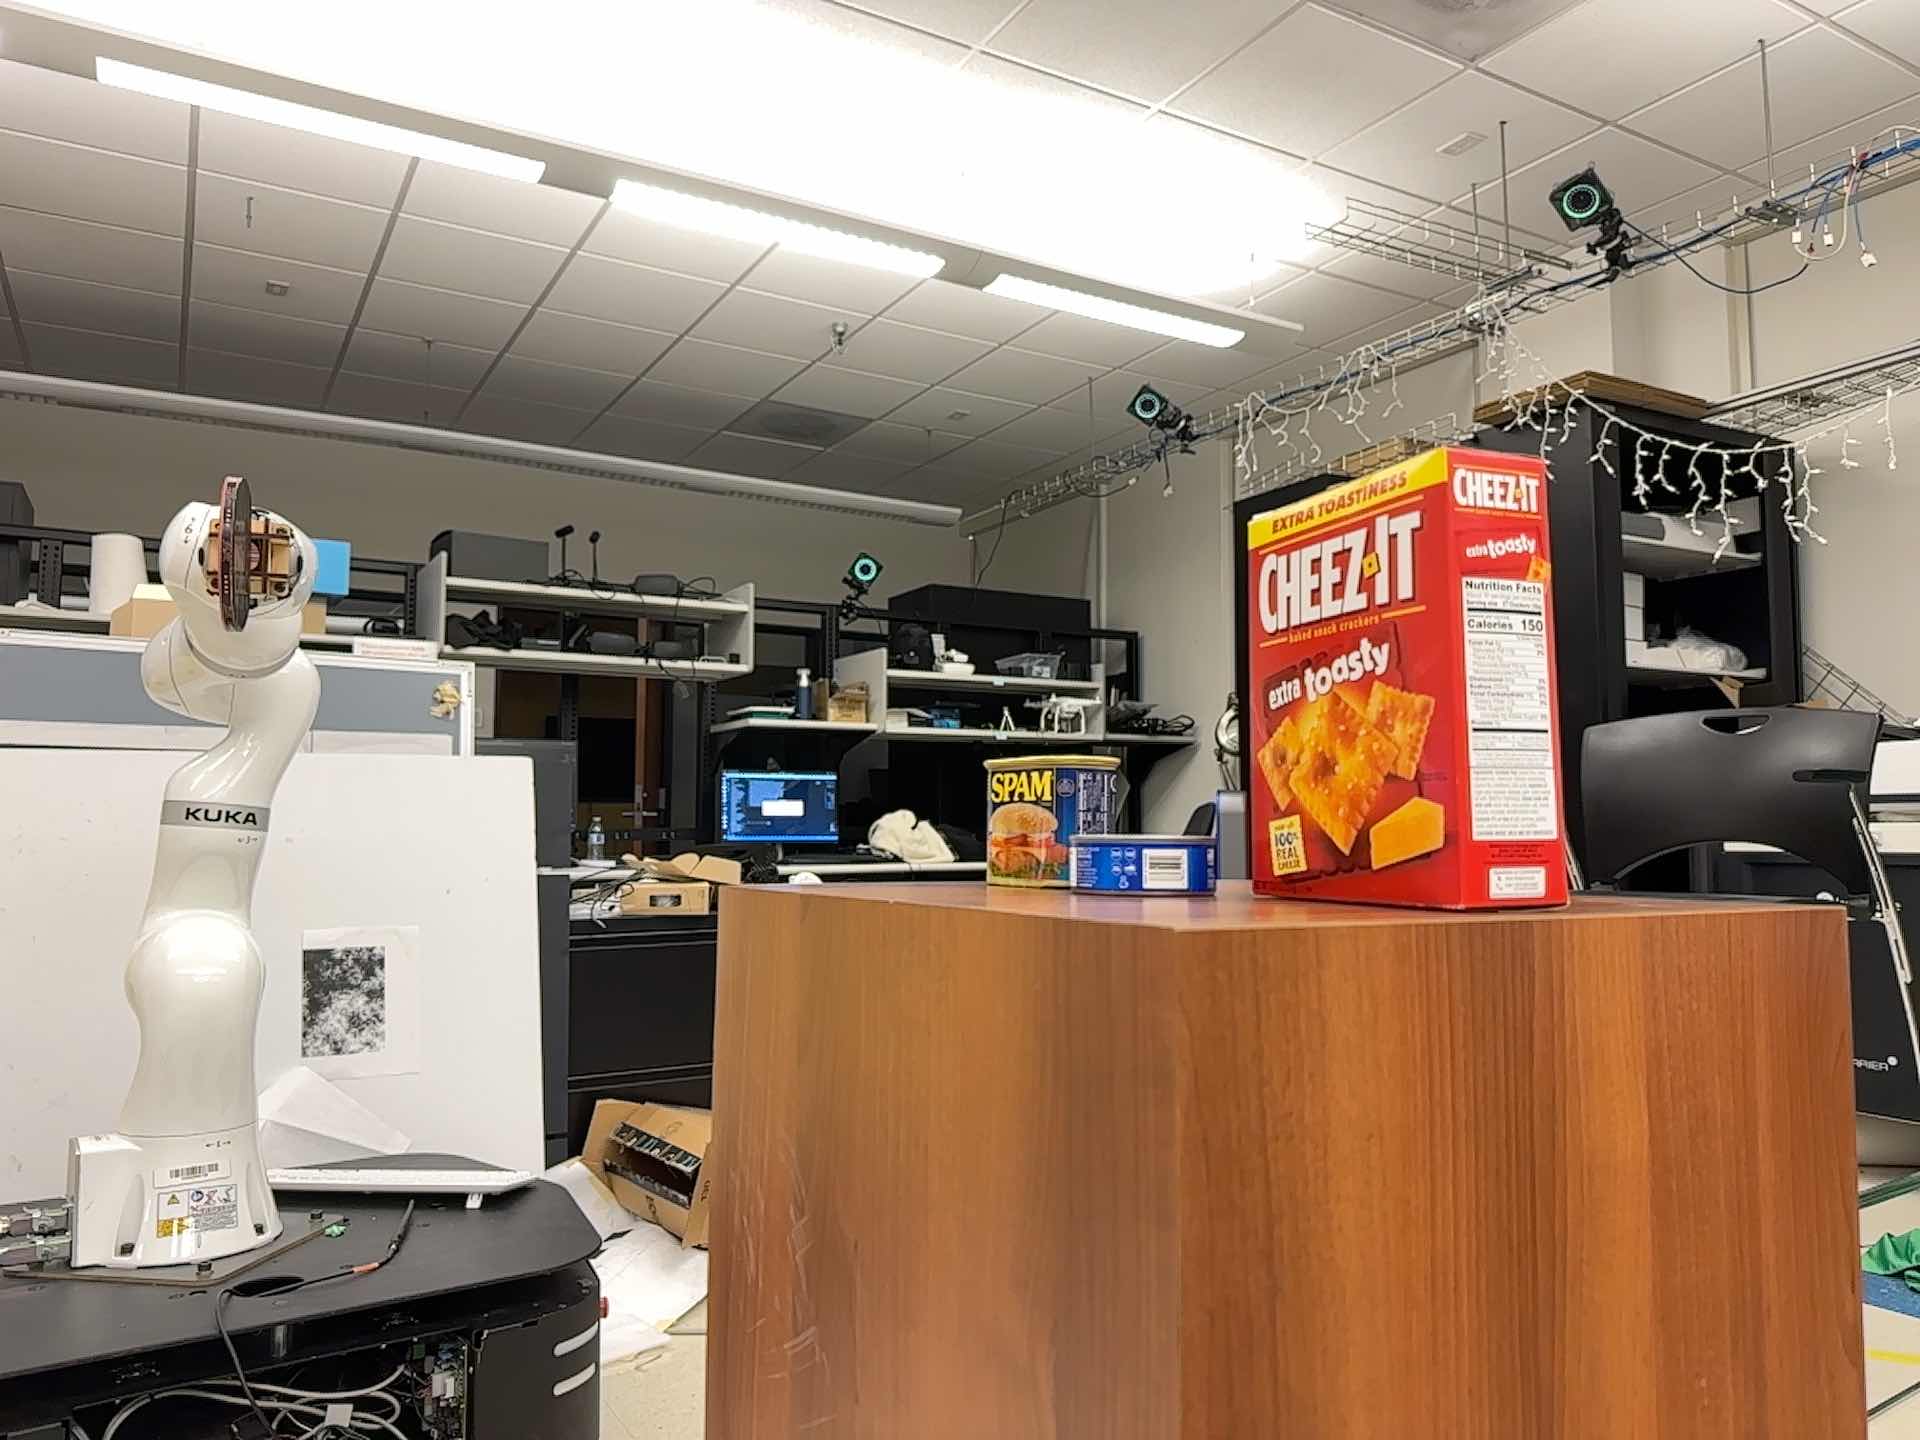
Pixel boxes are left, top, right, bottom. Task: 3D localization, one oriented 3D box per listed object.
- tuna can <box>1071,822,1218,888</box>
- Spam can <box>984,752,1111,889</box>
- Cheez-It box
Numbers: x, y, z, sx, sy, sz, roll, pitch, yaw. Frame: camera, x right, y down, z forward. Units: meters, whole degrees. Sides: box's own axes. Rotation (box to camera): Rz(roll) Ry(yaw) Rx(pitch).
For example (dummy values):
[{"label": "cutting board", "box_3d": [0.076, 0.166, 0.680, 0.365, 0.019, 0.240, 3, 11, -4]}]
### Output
[{"label": "tuna can", "box_3d": [0.107, 0.079, 0.789, 0.083, 0.034, 0.083, 1, -9, 0]}, {"label": "Spam can", "box_3d": [0.056, 0.068, 0.892, 0.056, 0.083, 0.100, 3, -7, -21]}, {"label": "Cheez-It box", "box_3d": [0.225, -0.019, 0.714, 0.062, 0.214, 0.159, 3, -8, -24]}]
